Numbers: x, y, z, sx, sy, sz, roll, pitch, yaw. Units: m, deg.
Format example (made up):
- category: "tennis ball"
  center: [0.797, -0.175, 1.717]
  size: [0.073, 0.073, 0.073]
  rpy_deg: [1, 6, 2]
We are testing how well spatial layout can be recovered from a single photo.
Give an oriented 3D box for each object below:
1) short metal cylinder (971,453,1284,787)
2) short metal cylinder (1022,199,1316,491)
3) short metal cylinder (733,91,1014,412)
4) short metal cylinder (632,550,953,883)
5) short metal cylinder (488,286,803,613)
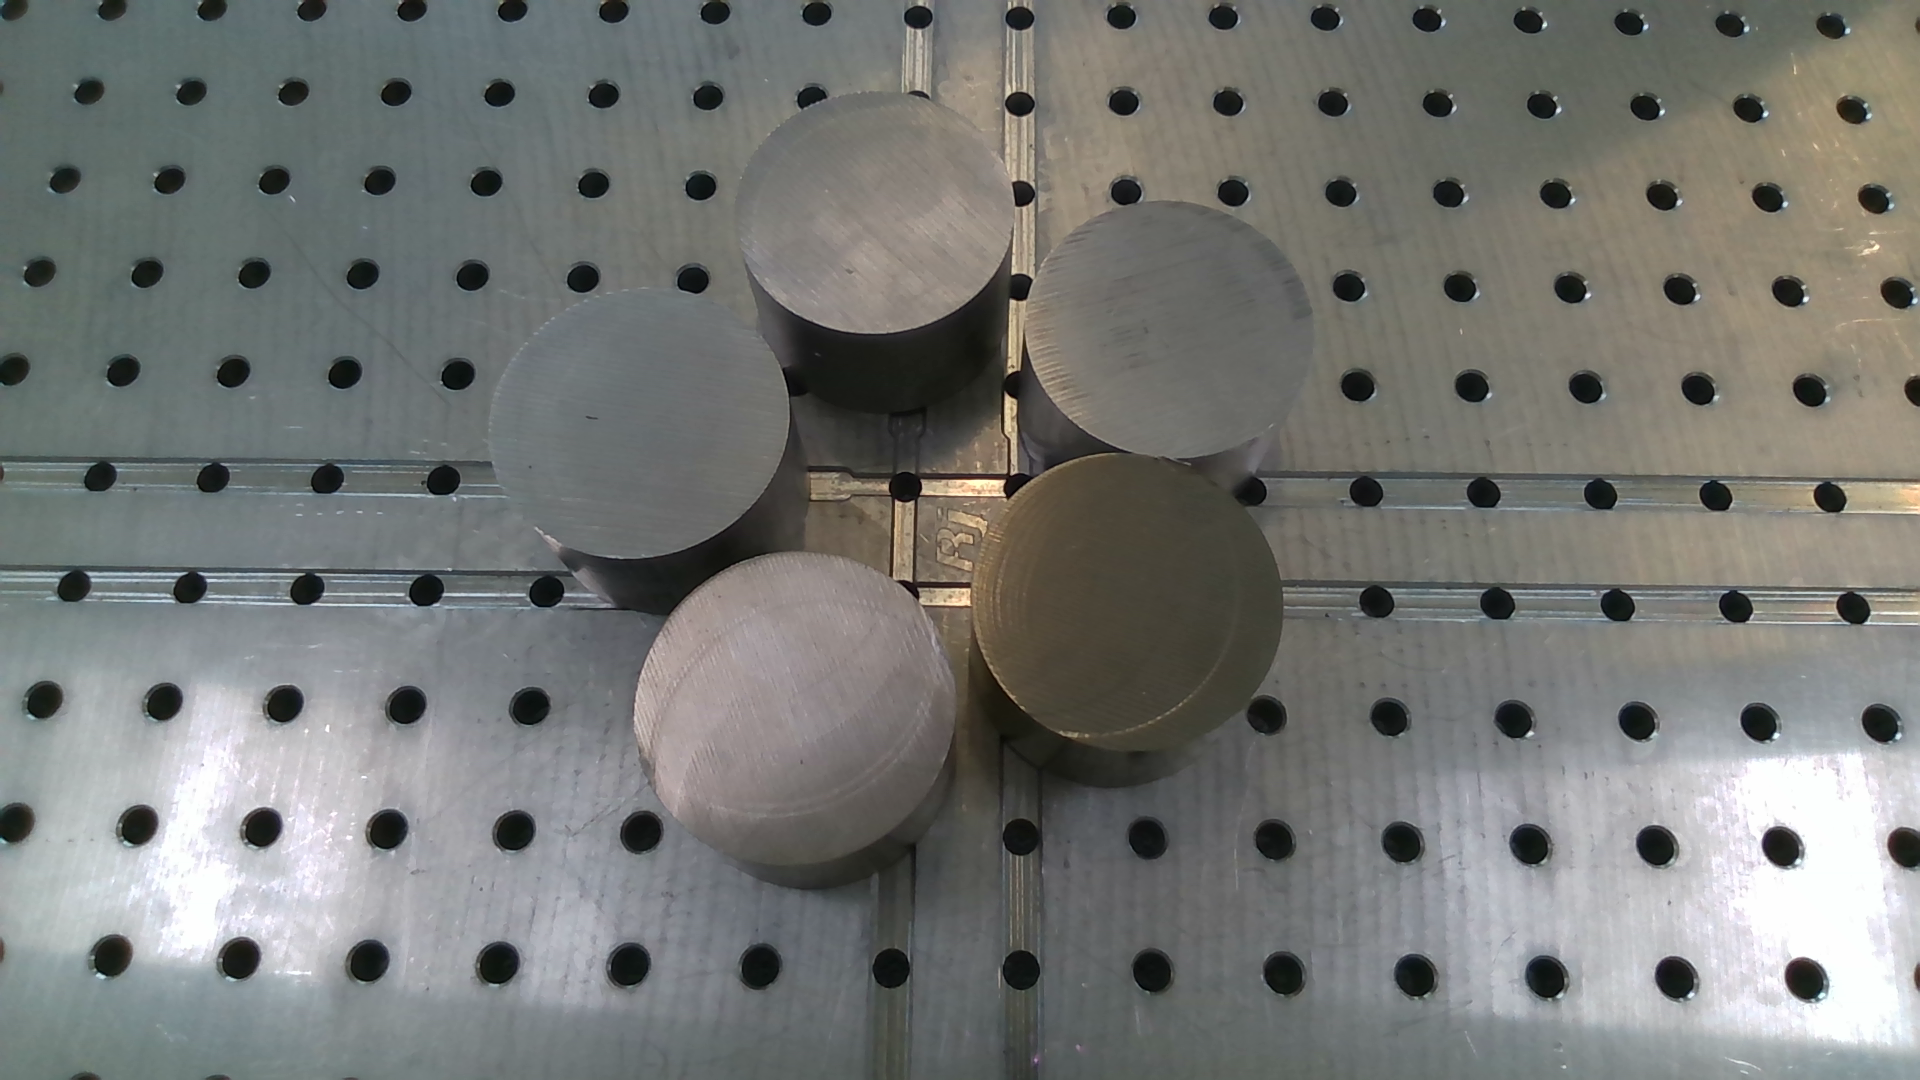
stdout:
- category: "short metal cylinder"
  center: [0.043, 0.023, 0.375]
  size: [0.080, 0.050, 0.080]
  rpy_deg: [0, 70, 0]
- category: "short metal cylinder"
  center: [0.058, -0.051, 0.402]
  size: [0.080, 0.050, 0.080]
  rpy_deg: [0, 71, 0]
- category: "short metal cylinder"
  center: [-0.024, -0.086, 0.415]
  size: [0.080, 0.050, 0.080]
  rpy_deg: [0, 70, 0]
- category: "short metal cylinder"
  center: [-0.041, 0.049, 0.366]
  size: [0.080, 0.050, 0.080]
  rpy_deg: [0, 71, 1]
- category: "short metal cylinder"
  center: [-0.086, -0.024, 0.392]
  size: [0.080, 0.050, 0.080]
  rpy_deg: [0, 70, 0]
